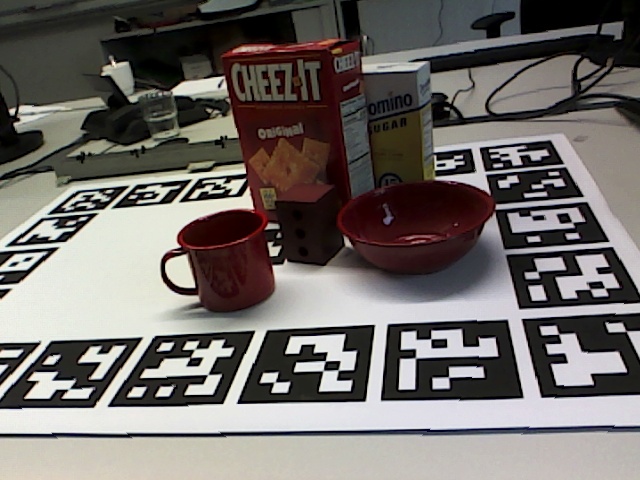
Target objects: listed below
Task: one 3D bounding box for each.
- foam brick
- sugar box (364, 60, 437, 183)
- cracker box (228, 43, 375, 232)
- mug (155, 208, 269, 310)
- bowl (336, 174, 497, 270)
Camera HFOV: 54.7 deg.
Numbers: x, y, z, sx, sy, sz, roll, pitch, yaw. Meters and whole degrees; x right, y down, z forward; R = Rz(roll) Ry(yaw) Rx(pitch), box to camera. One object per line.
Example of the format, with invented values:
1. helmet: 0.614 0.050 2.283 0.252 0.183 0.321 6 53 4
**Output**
1. foam brick: -0.013 -0.017 0.699 0.053 0.078 0.051 3 27 28
2. sugar box: 0.091 -0.124 0.753 0.093 0.176 0.045 6 30 33
3. cracker box: -0.022 -0.126 0.761 0.165 0.213 0.071 13 31 39
4. mug: -0.111 0.021 0.633 0.117 0.081 0.093 -9 17 7
5. bowl: 0.100 -0.015 0.641 0.162 0.055 0.162 -9 26 4
